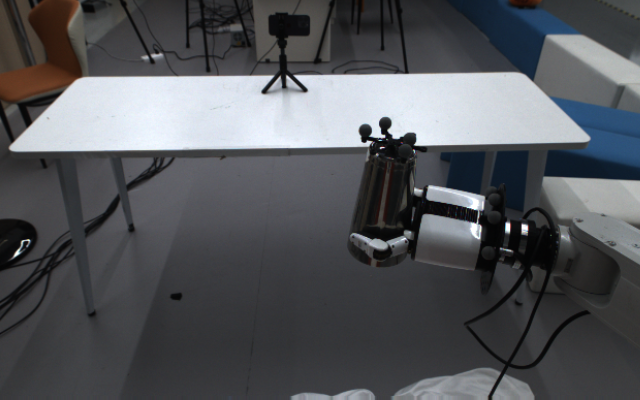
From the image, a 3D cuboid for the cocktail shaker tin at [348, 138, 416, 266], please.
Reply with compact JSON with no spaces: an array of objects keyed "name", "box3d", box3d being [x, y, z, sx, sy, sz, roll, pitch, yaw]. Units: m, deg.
[{"name":"cocktail shaker tin","box3d":[0.093,0.001,0.693,0.093,0.170,0.093,3,34,-2]}]
